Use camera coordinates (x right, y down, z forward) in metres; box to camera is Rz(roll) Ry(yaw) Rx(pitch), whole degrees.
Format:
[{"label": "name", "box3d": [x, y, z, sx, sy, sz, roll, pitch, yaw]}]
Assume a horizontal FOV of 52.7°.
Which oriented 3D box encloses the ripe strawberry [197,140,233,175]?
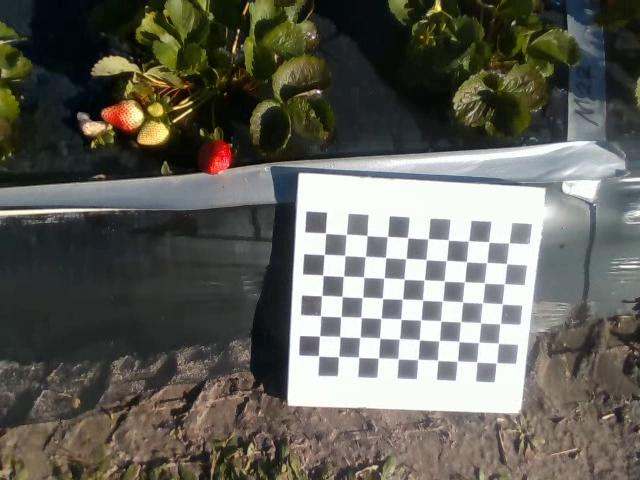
[{"label": "ripe strawberry", "box3d": [-0.094, -0.070, 0.577, 0.036, 0.038, 0.046, 1, 23, -3]}]
